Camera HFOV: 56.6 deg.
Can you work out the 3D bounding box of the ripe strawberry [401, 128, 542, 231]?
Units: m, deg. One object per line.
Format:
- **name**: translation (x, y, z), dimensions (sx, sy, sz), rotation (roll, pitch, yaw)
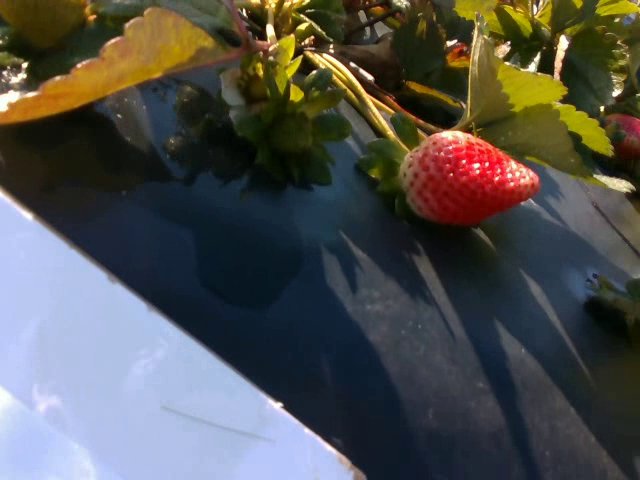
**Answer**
- **ripe strawberry**: translation (0.043, -0.015, 0.169), dimensions (0.042, 0.037, 0.045), rotation (31, -20, -33)
